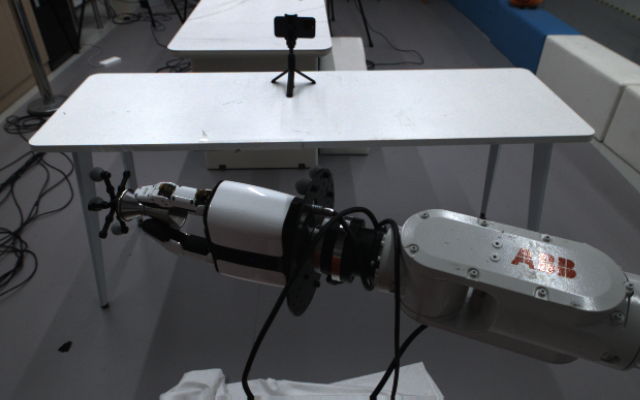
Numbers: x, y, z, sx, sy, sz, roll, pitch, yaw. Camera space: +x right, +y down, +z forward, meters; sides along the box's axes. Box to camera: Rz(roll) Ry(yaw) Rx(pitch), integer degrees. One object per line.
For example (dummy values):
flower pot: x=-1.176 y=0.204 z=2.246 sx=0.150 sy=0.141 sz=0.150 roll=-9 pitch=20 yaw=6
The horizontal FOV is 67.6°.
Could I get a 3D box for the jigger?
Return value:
jigger: x=-0.189 y=0.007 z=0.573 sx=0.071 sy=0.043 sz=0.043 roll=5 pitch=35 yaw=13
